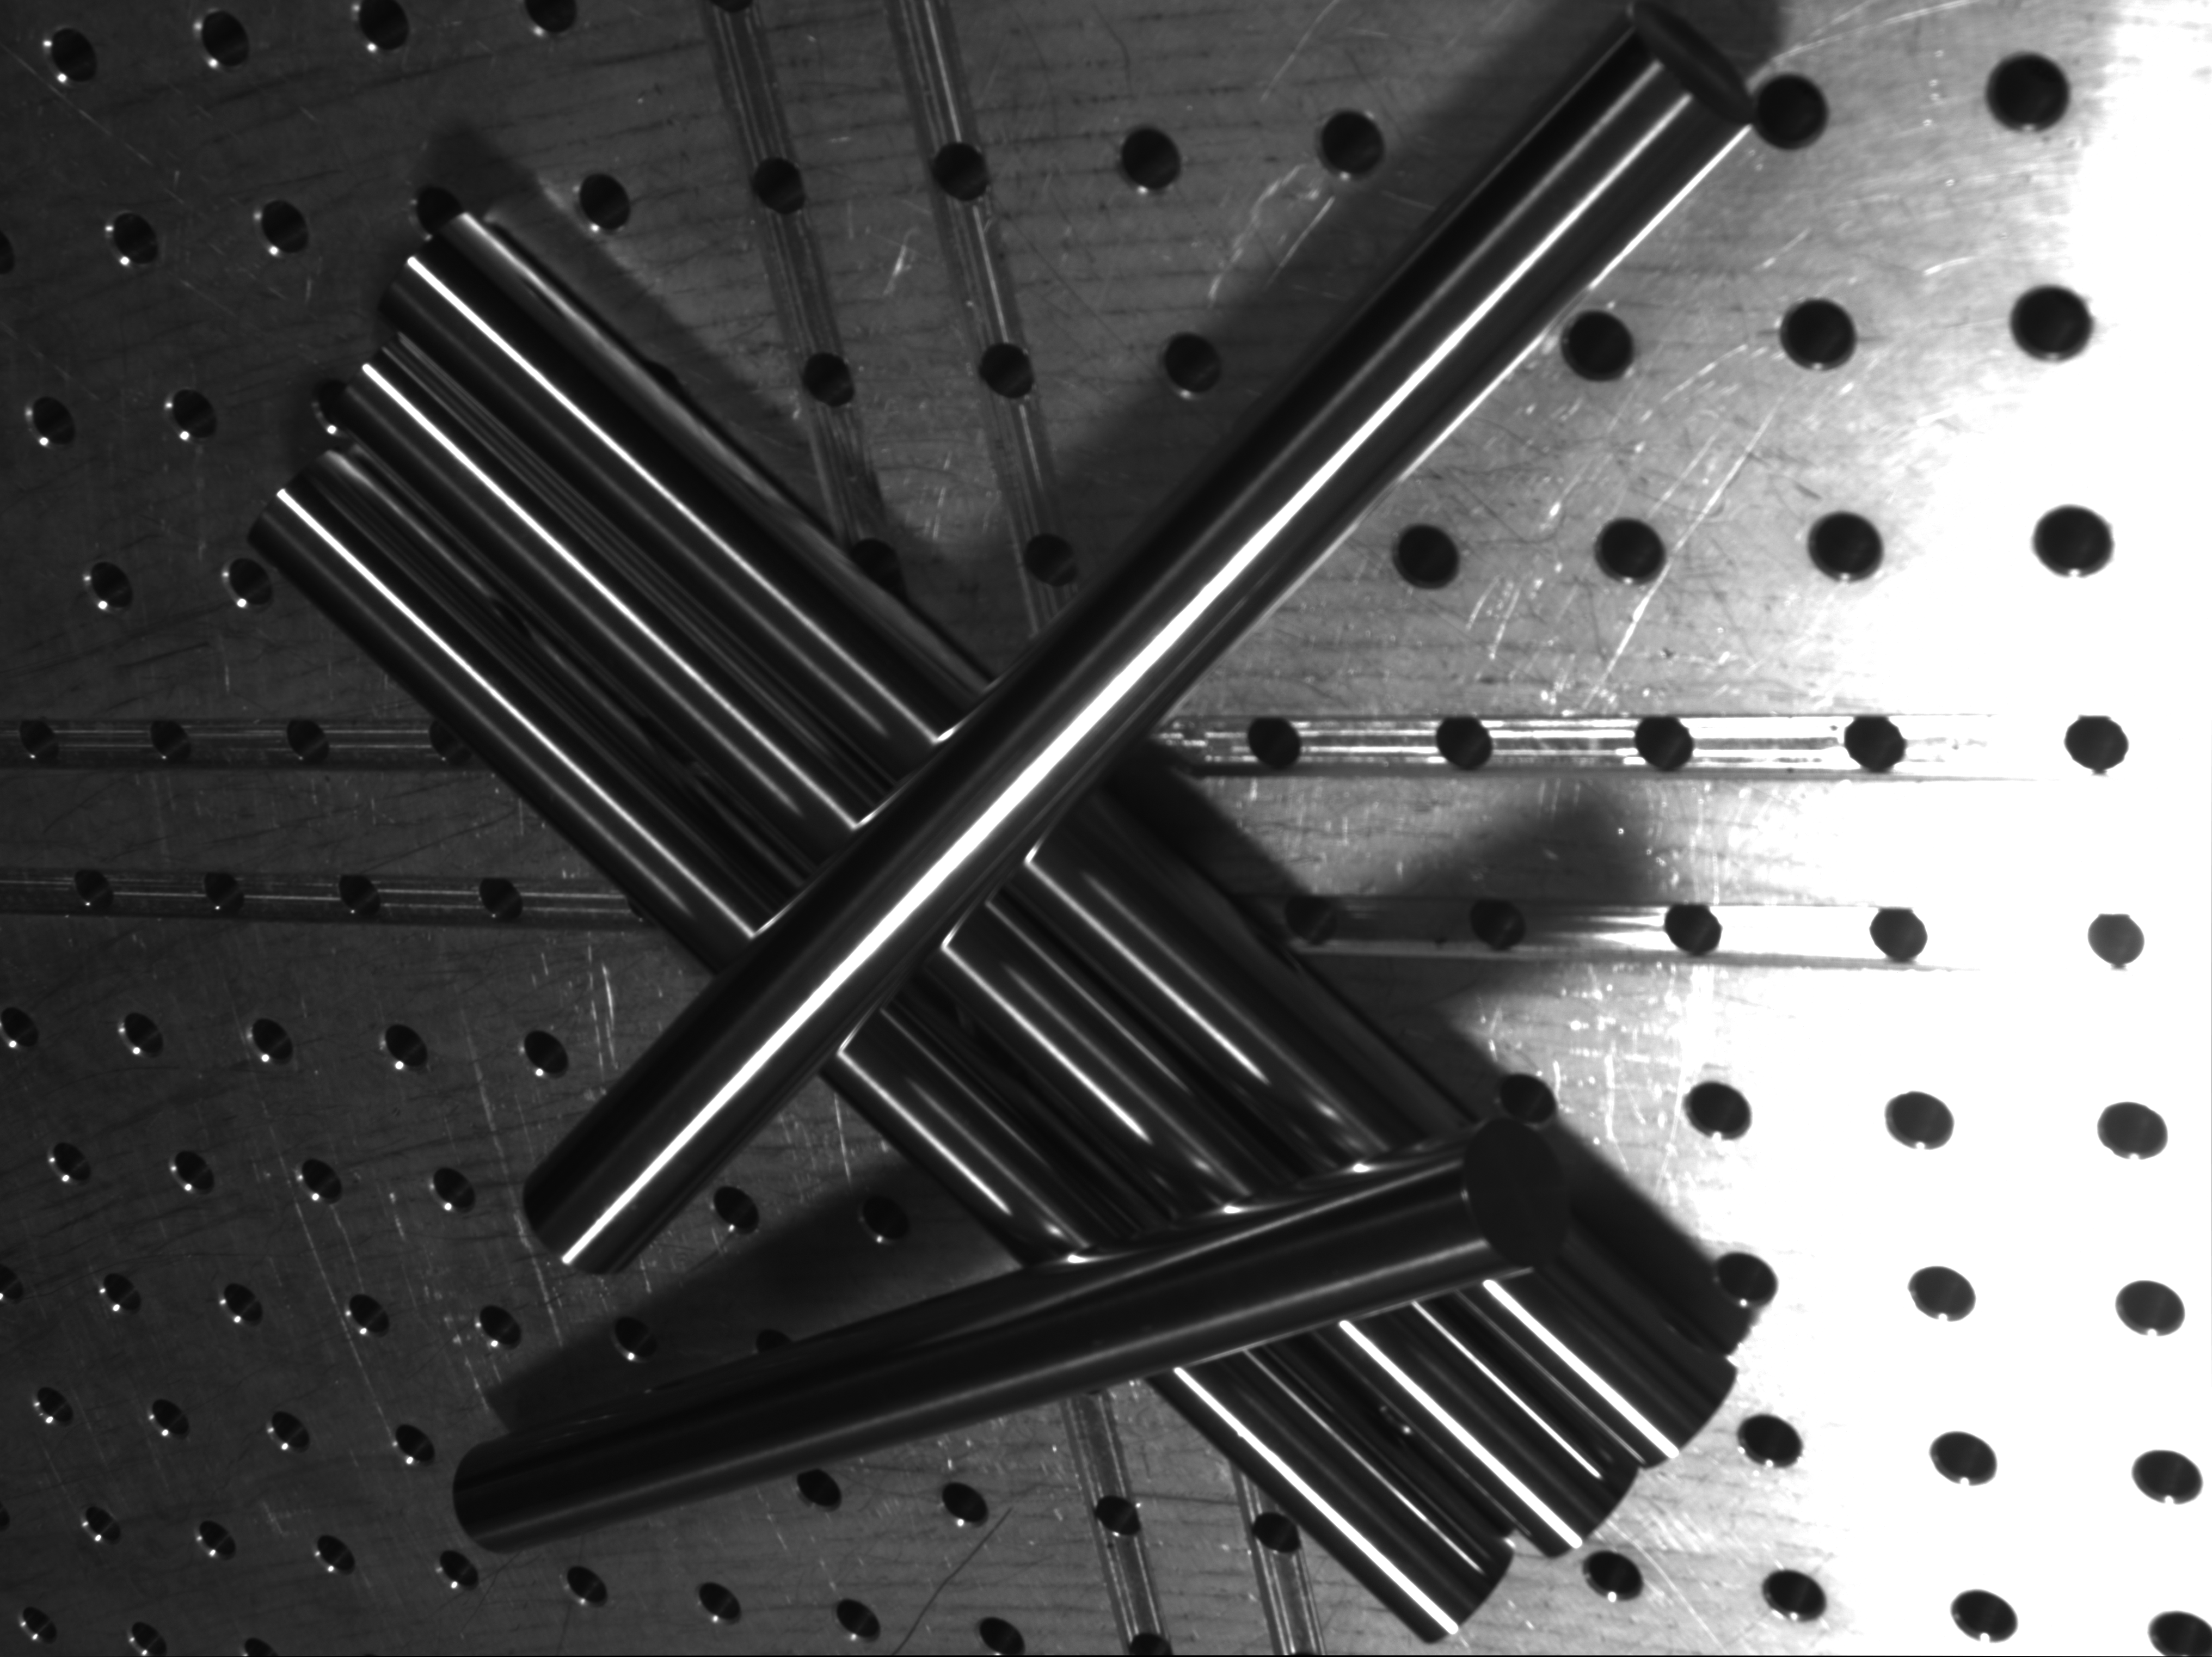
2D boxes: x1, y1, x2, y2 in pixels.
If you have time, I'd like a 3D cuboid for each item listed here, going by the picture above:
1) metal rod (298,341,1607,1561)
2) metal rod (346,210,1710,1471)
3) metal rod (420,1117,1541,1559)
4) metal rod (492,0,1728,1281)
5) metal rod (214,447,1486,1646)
[{"bbox_3d":[-0.026,0.021,0.659,0.300,0.025,0.025,43,128,-3],"label":"metal rod"},{"bbox_3d":[-0.013,0.003,0.642,0.300,0.025,0.025,42,128,-2],"label":"metal rod"},{"bbox_3d":[-0.038,0.102,0.688,0.299,0.025,0.025,-24,106,44],"label":"metal rod"},{"bbox_3d":[-0.011,-0.019,0.602,0.025,0.025,0.300,43,120,-3],"label":"metal rod"},{"bbox_3d":[-0.046,0.042,0.682,0.300,0.025,0.025,43,128,-3],"label":"metal rod"}]
